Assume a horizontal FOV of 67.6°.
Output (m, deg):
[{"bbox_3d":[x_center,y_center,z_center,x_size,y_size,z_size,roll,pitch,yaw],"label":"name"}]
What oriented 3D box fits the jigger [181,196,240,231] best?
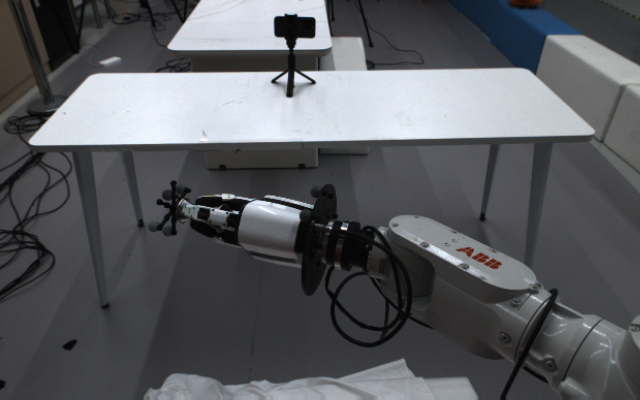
[{"bbox_3d":[-0.171,0.019,0.726,0.071,0.043,0.043,11,36,16],"label":"jigger"}]
